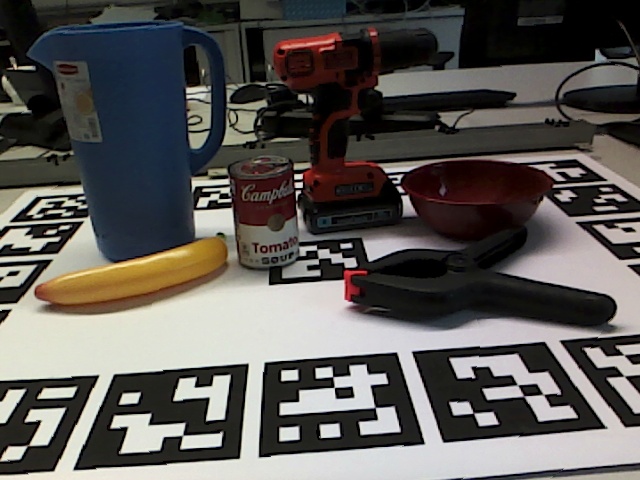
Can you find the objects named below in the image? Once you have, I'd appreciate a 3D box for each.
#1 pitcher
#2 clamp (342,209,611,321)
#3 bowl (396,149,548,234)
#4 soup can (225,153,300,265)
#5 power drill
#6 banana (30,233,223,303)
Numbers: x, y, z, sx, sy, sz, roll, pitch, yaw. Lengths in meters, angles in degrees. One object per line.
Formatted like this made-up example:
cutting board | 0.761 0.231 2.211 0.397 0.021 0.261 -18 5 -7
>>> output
pitcher | -0.187 -0.113 0.659 0.188 0.242 0.134 -16 26 -24
clamp | 0.120 0.026 0.547 0.202 0.036 0.166 -6 30 -4
bowl | 0.166 -0.051 0.690 0.162 0.055 0.162 -4 28 2
soup can | -0.058 -0.033 0.638 0.068 0.102 0.068 -5 18 1
power drill | 0.048 -0.142 0.702 0.184 0.186 0.057 -7 26 -7
banana | -0.175 0.029 0.603 0.196 0.039 0.075 -16 20 -26
